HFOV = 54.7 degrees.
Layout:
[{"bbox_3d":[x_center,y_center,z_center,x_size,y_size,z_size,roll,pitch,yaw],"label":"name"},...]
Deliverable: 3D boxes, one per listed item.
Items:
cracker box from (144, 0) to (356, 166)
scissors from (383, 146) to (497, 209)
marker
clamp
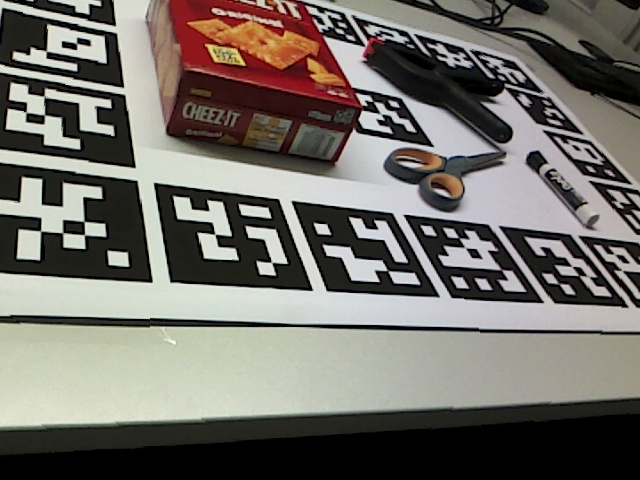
[{"bbox_3d":[-0.076,-0.171,0.600,0.163,0.072,0.215,6,41,-26],"label":"cracker box"},{"bbox_3d":[0.144,-0.080,0.664,0.088,0.016,0.202,42,37,22],"label":"scissors"},{"bbox_3d":[0.272,-0.067,0.724,0.019,0.019,0.122,2,42,-29],"label":"marker"},{"bbox_3d":[0.133,-0.203,0.816,0.202,0.036,0.165,25,35,-3],"label":"clamp"}]
